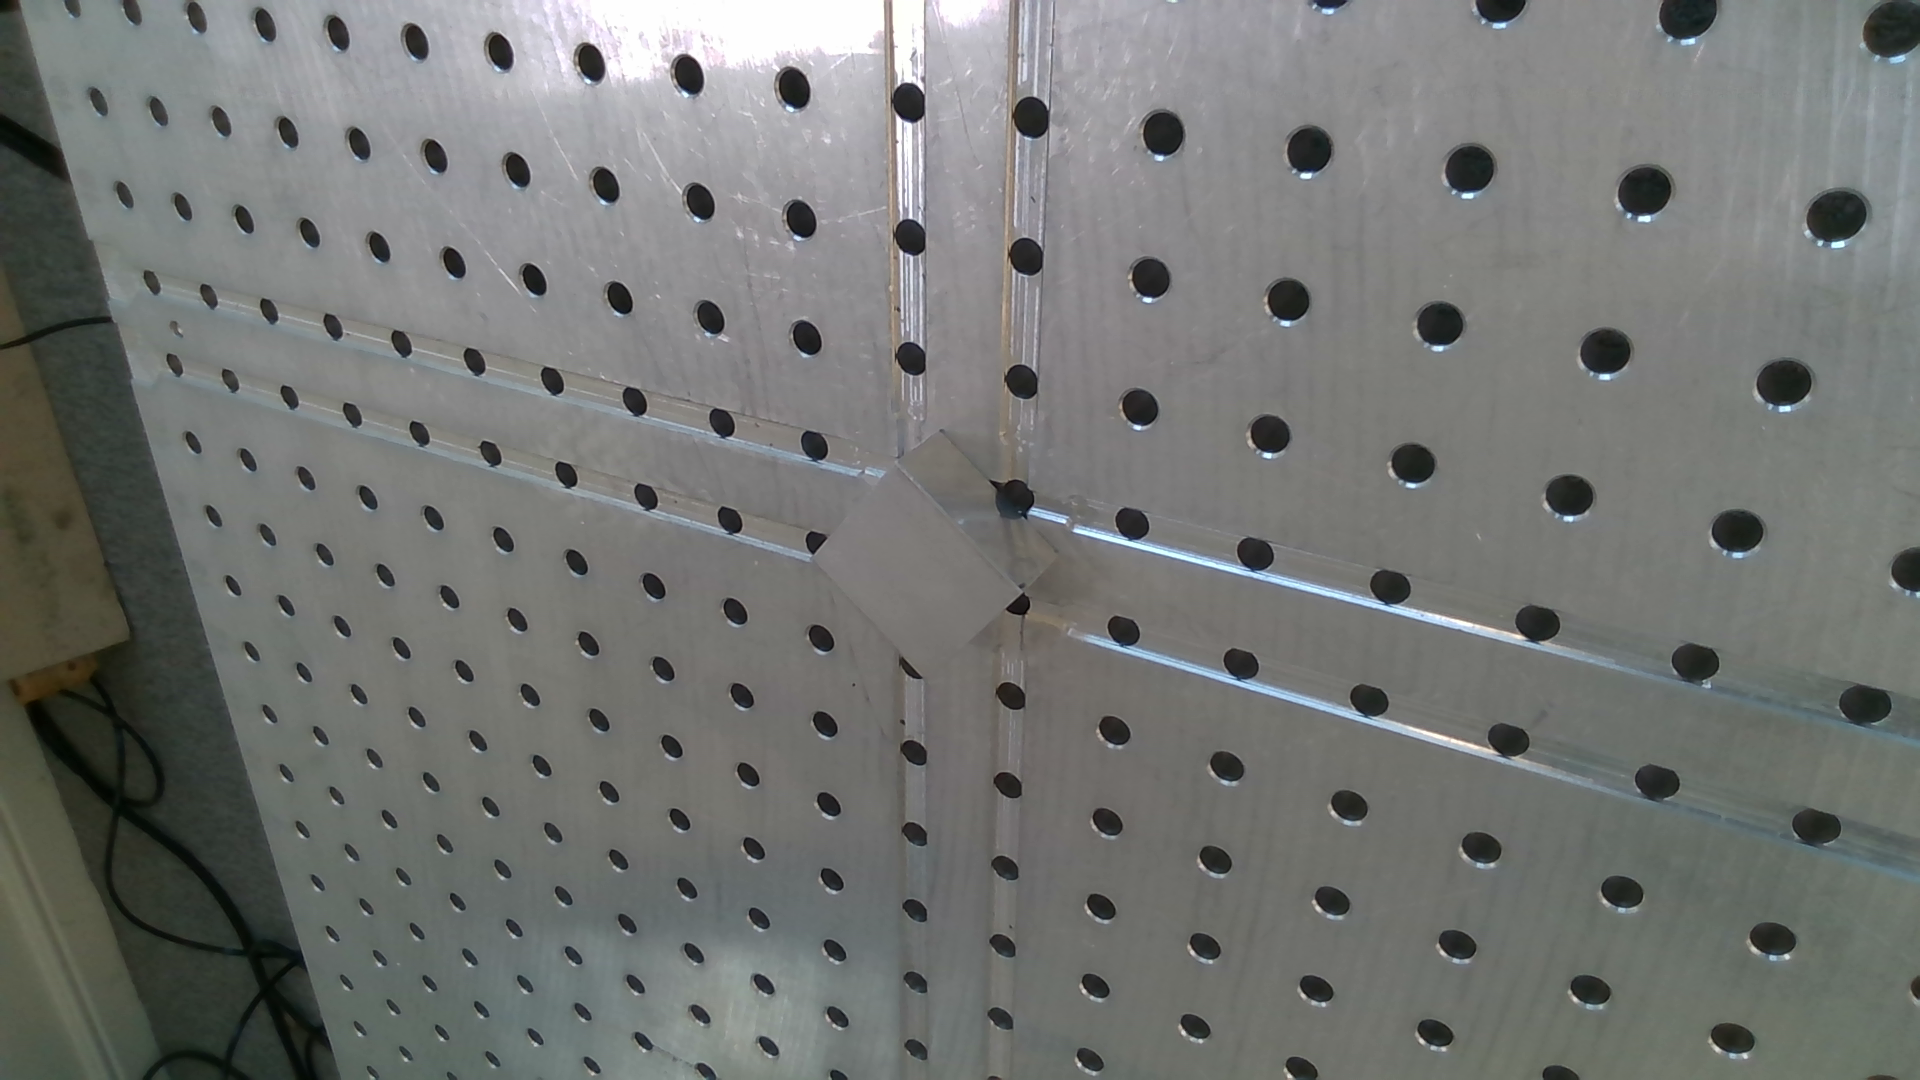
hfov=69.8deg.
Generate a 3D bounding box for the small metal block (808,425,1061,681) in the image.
[{"bbox_3d":[-0.008,0.004,0.399,0.050,0.025,0.050,46,130,2],"label":"small metal block"}]
